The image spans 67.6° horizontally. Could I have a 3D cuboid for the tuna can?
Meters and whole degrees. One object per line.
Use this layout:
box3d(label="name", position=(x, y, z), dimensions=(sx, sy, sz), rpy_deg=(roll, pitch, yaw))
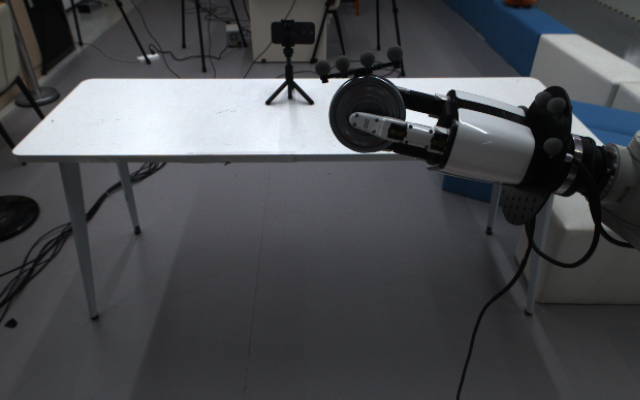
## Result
box3d(label="tuna can", position=(0.057, -0.091, 0.542), dimensions=(0.085, 0.085, 0.034), rpy_deg=(6, 18, 5))
